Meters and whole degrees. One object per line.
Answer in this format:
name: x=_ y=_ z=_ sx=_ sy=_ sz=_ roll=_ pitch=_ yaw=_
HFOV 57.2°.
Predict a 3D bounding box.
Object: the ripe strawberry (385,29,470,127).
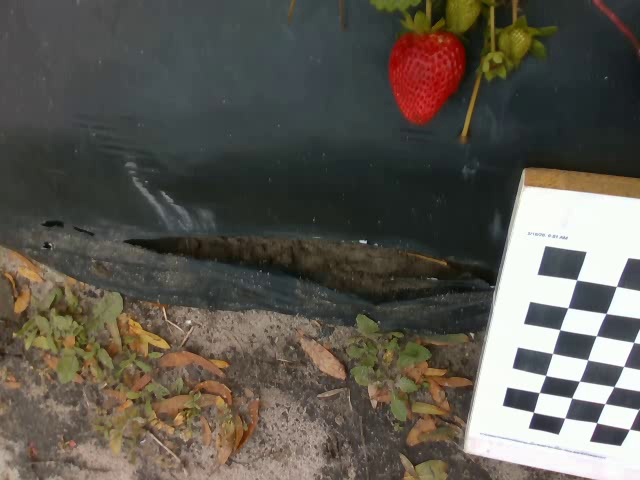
ripe strawberry: x=0.017 y=-0.026 z=0.094 sx=0.018 sy=0.017 sz=0.014 roll=6 pitch=-4 yaw=2
